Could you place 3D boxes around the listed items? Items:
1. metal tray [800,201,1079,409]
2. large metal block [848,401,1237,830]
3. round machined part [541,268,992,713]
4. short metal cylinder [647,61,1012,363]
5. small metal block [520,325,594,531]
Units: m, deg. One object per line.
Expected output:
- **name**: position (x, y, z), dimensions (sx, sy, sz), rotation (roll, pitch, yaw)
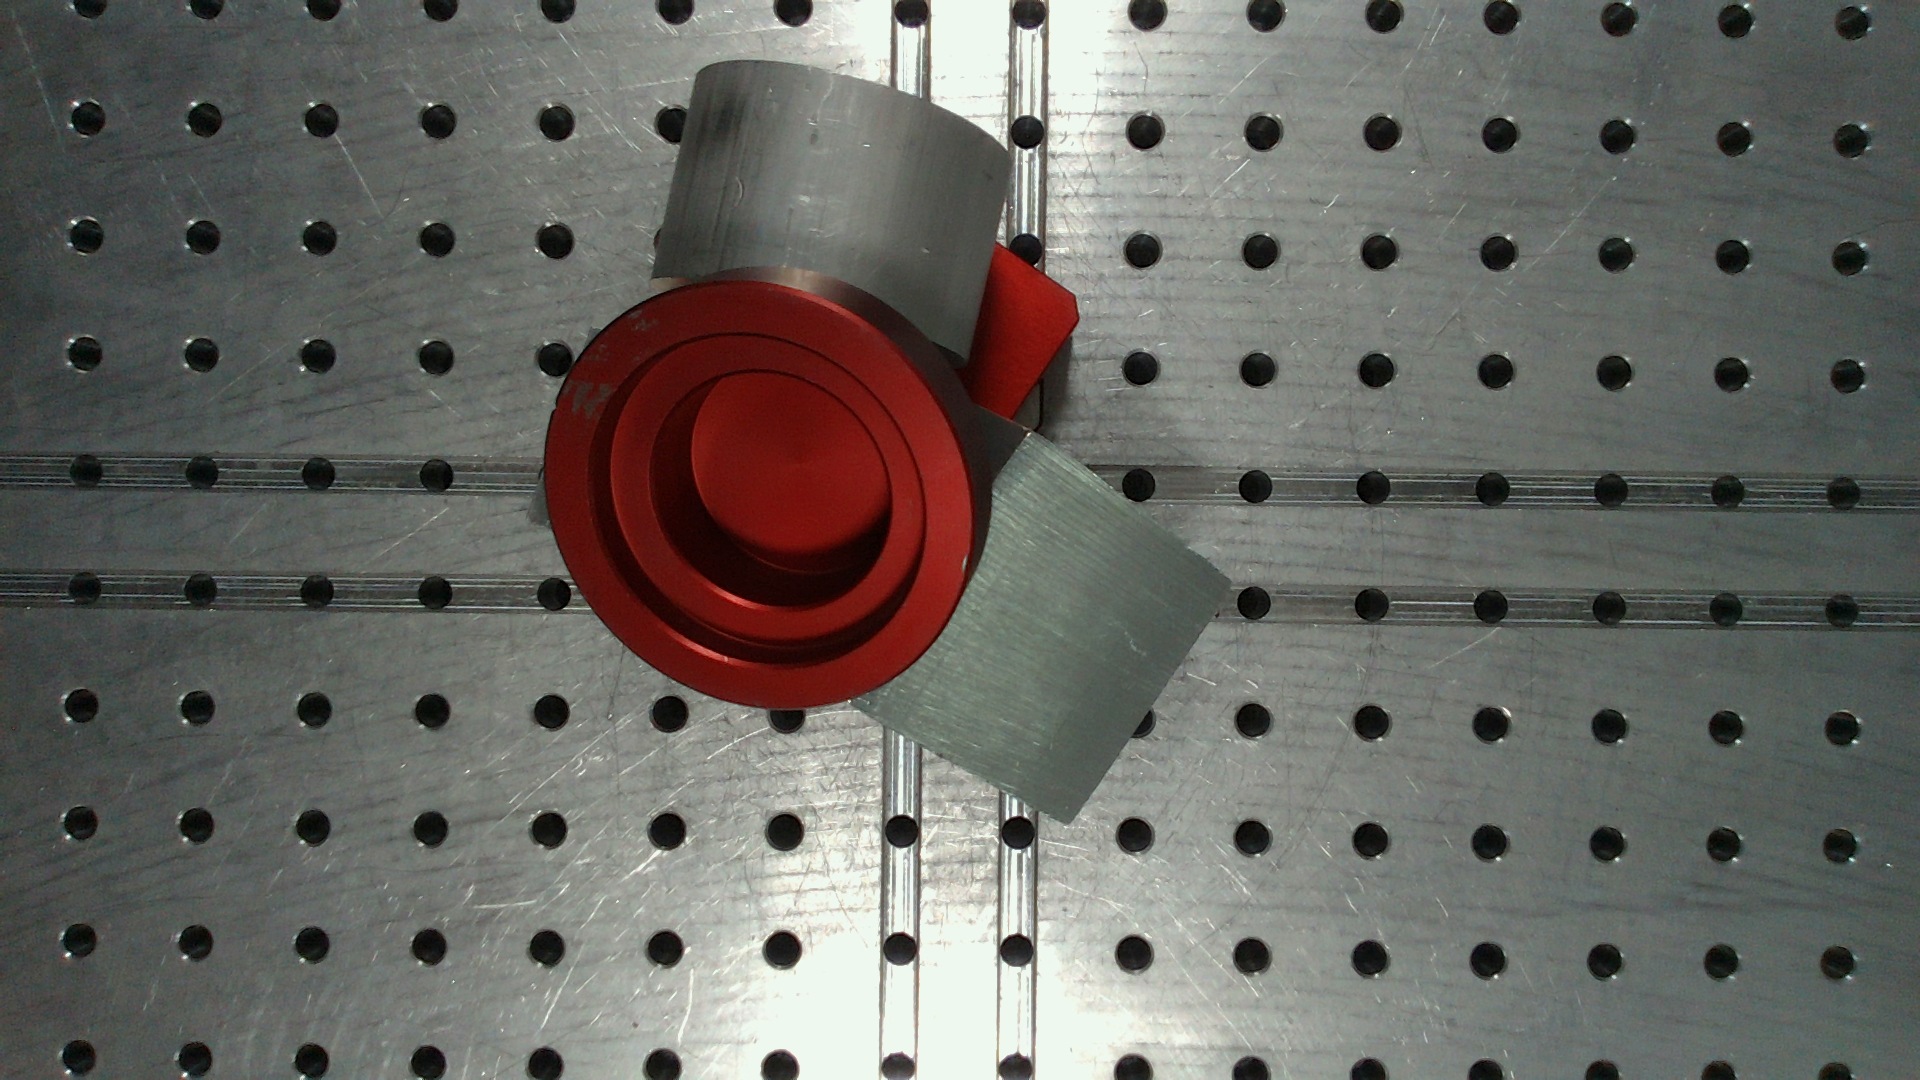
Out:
- **metal tray**: position (-0.038, -0.038, 0.395), dimensions (0.090, 0.030, 0.130), rotation (34, 90, 0)
- **large metal block**: position (0.012, 0.018, 0.367), dimensions (0.080, 0.050, 0.080), rotation (34, 90, -31)
- **round machined part**: position (-0.041, -0.014, 0.314), dimensions (0.098, 0.042, 0.098), rotation (4, 111, 10)
- **short metal cylinder**: position (-0.032, -0.077, 0.339), dimensions (0.080, 0.080, 0.050), rotation (13, 90, 0)
- **small metal block**: position (-0.085, -0.024, 0.353), dimensions (0.025, 0.050, 0.050), rotation (19, 90, 0)
